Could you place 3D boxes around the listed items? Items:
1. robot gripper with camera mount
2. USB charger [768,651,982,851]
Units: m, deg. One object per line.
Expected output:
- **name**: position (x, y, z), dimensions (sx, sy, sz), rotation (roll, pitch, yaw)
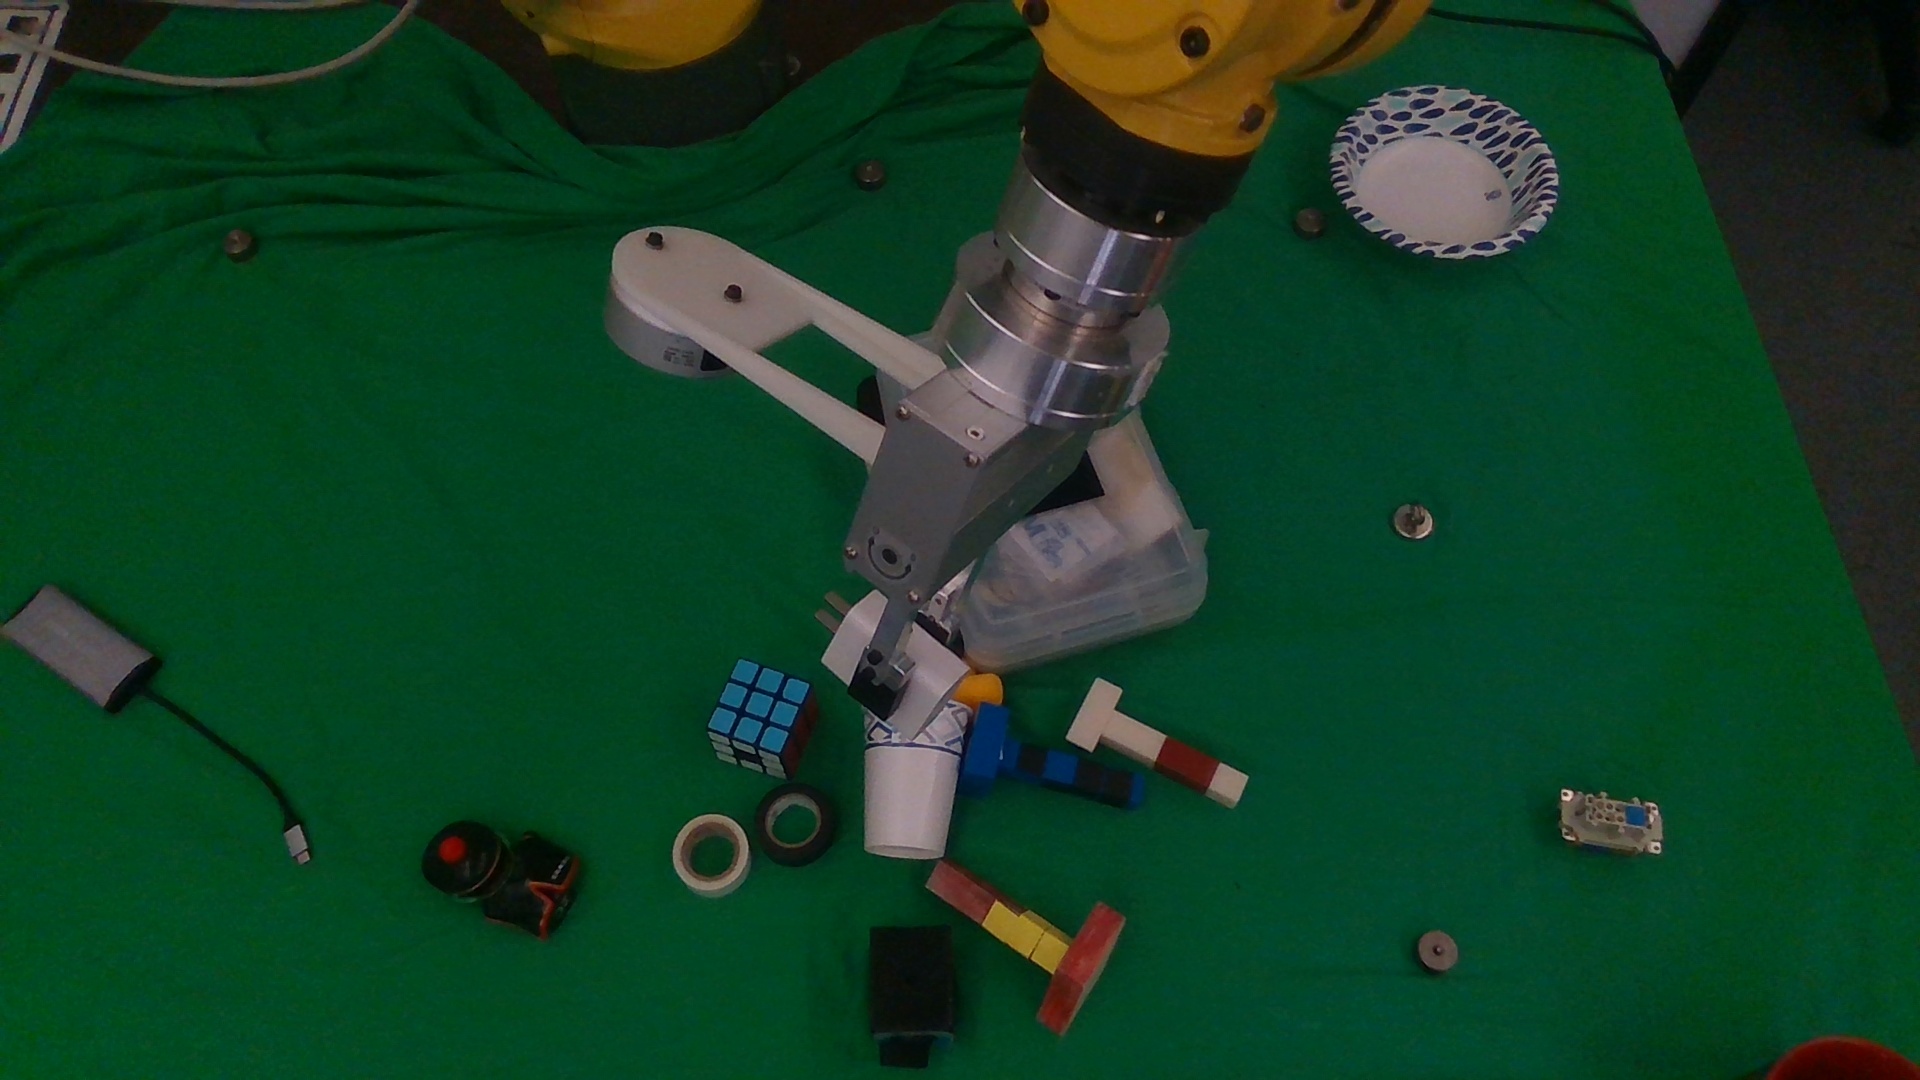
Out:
- **robot gripper with camera mount**: position (-0.058, -0.012, 0.455), dimensions (0.194, 0.159, 0.118), rotation (38, 41, 15)
- **USB charger**: position (-0.034, 0.069, 0.481), dimensions (0.075, 0.045, 0.029), rotation (41, 35, 3)
